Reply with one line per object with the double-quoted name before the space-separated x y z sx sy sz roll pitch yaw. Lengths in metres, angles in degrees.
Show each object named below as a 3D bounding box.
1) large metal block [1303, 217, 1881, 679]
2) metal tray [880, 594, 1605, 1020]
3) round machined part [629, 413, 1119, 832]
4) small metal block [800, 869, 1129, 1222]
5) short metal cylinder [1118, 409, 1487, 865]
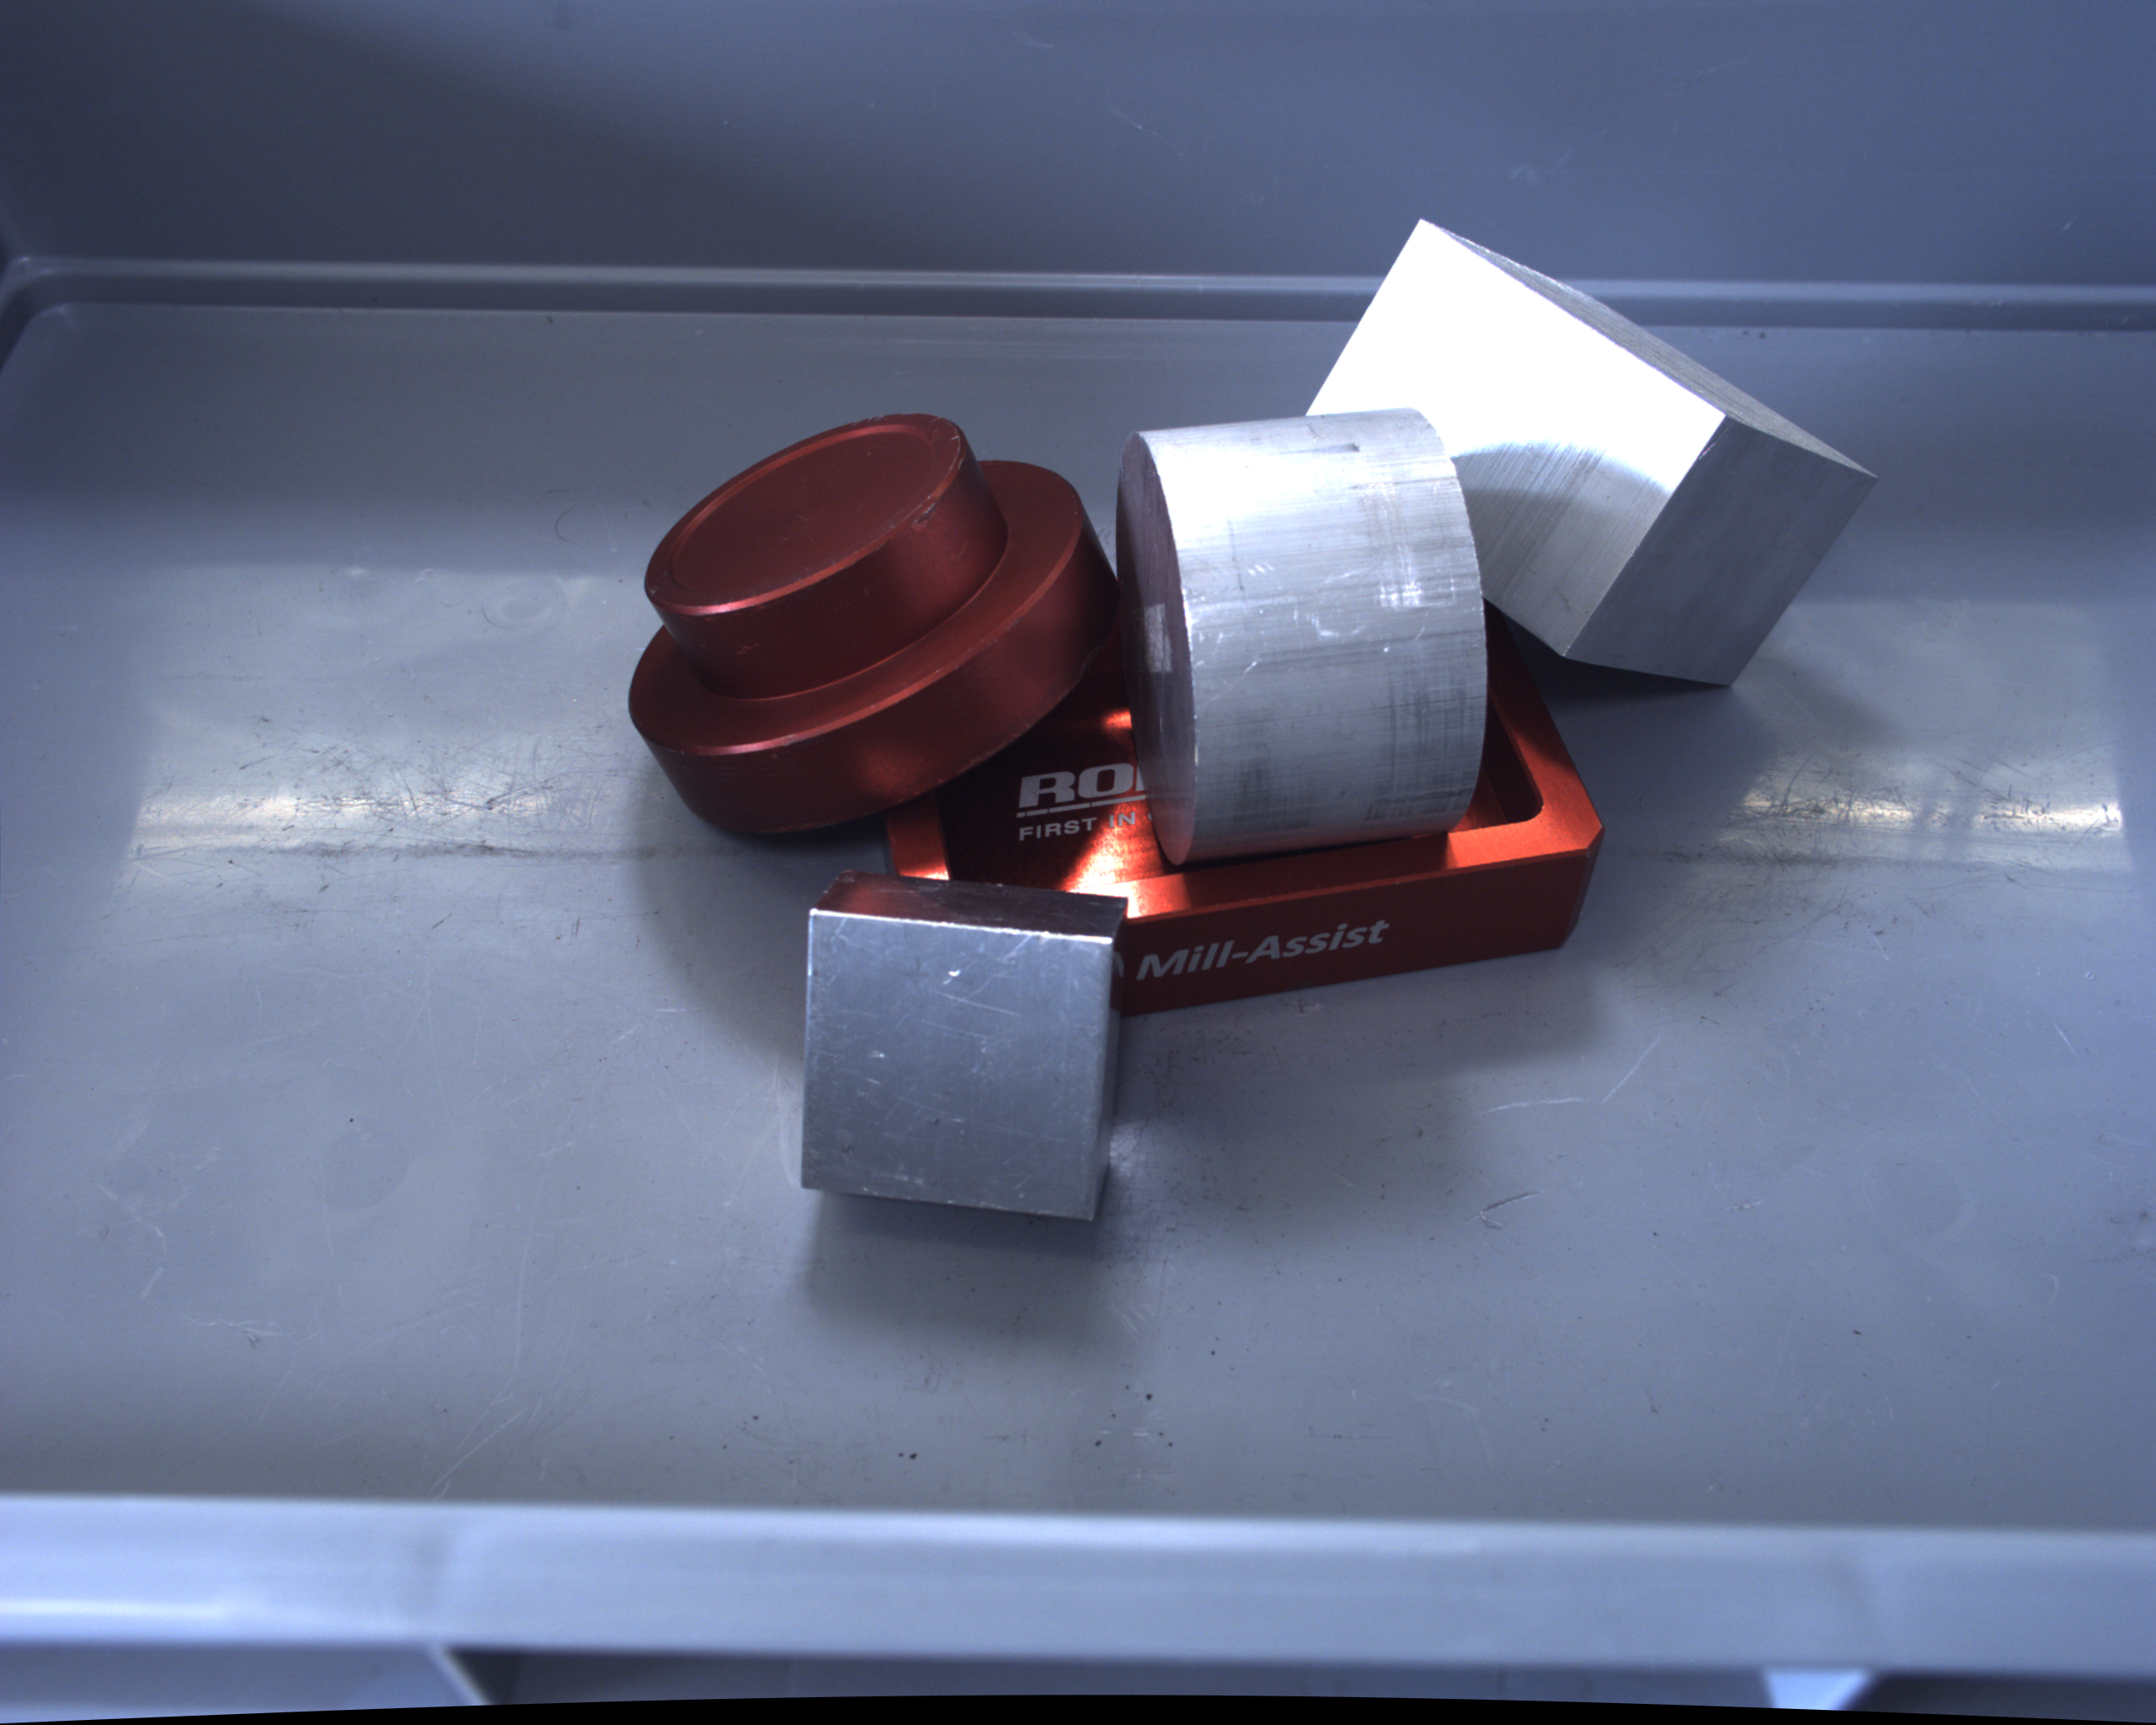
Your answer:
"large metal block" 0.105 -0.083 0.432 0.081 0.050 0.080 0 38 -51
"metal tray" 0.026 -0.017 0.415 0.131 0.030 0.090 -9 51 -8
"round machined part" -0.045 -0.053 0.411 0.098 0.042 0.098 -19 33 13
"small metal block" -0.019 0.031 0.358 0.050 0.050 0.025 6 16 5
"short metal cylinder" 0.038 -0.042 0.386 0.050 0.080 0.080 -6 50 -6
